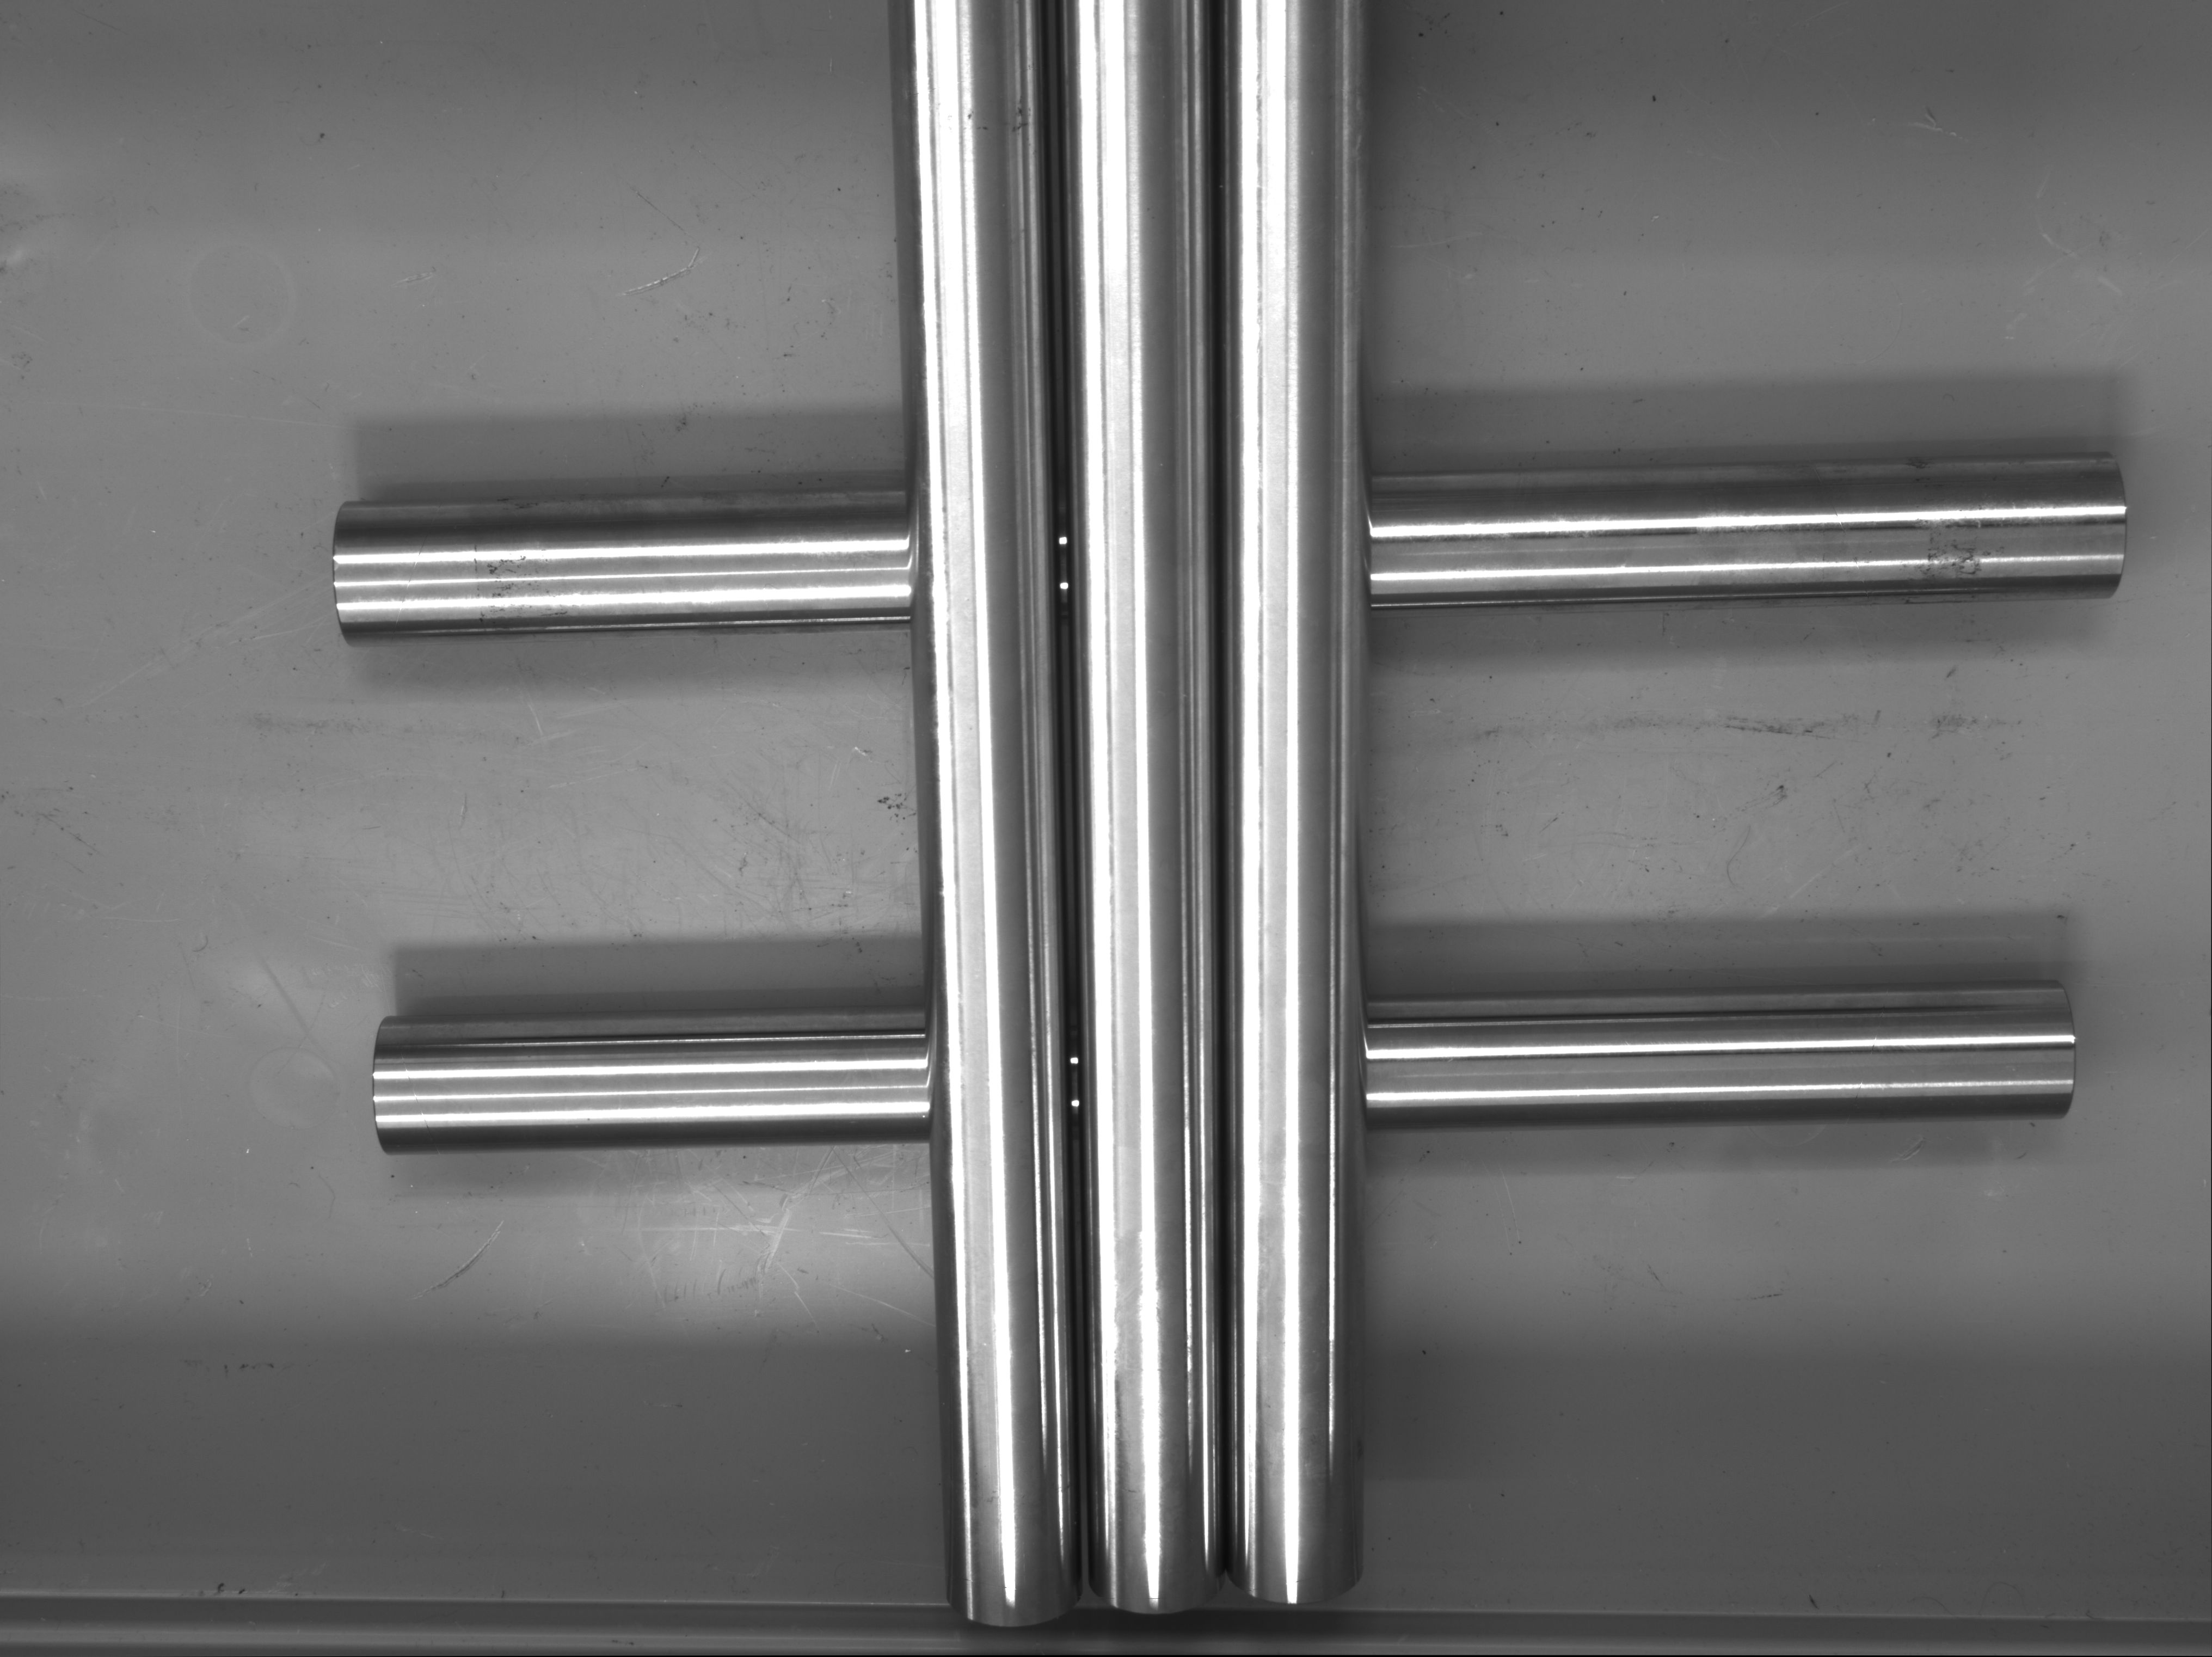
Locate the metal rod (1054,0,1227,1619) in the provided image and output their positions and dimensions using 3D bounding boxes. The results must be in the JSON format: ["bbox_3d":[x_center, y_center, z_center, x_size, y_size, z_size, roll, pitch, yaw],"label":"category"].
[{"bbox_3d":[0.007,-0.005,0.613,0.025,0.025,0.300,-1,110,0],"label":"metal rod"}]

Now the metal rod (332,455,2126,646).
[{"bbox_3d":[0.021,-0.047,0.626,0.300,0.025,0.025,-1,110,0],"label":"metal rod"}]

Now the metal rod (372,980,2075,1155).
[{"bbox_3d":[0.021,0.043,0.658,0.300,0.025,0.025,-1,110,0],"label":"metal rod"}]

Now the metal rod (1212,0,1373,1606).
[{"bbox_3d":[0.031,-0.007,0.612,0.025,0.025,0.300,-1,110,0],"label":"metal rod"}]

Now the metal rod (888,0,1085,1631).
[{"bbox_3d":[-0.019,-0.002,0.614,0.025,0.025,0.300,-1,110,0],"label":"metal rod"}]
